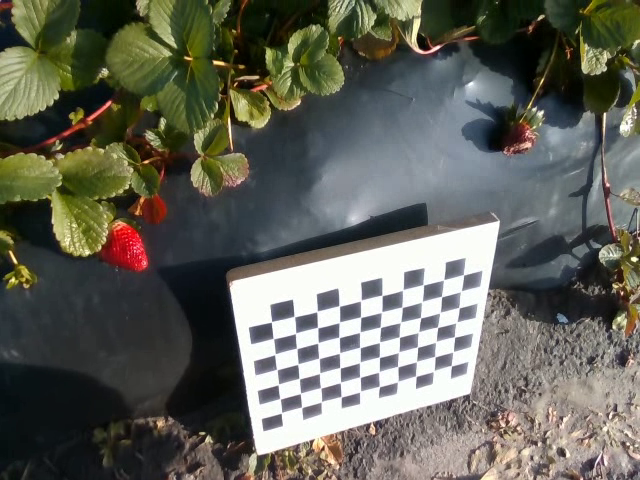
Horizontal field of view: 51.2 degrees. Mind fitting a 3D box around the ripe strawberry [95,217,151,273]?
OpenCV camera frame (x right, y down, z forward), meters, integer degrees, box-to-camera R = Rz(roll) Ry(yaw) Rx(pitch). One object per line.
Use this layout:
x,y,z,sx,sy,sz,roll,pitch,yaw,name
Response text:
-0.170,0.010,0.566,0.056,0.041,0.040,42,21,7,ripe strawberry
